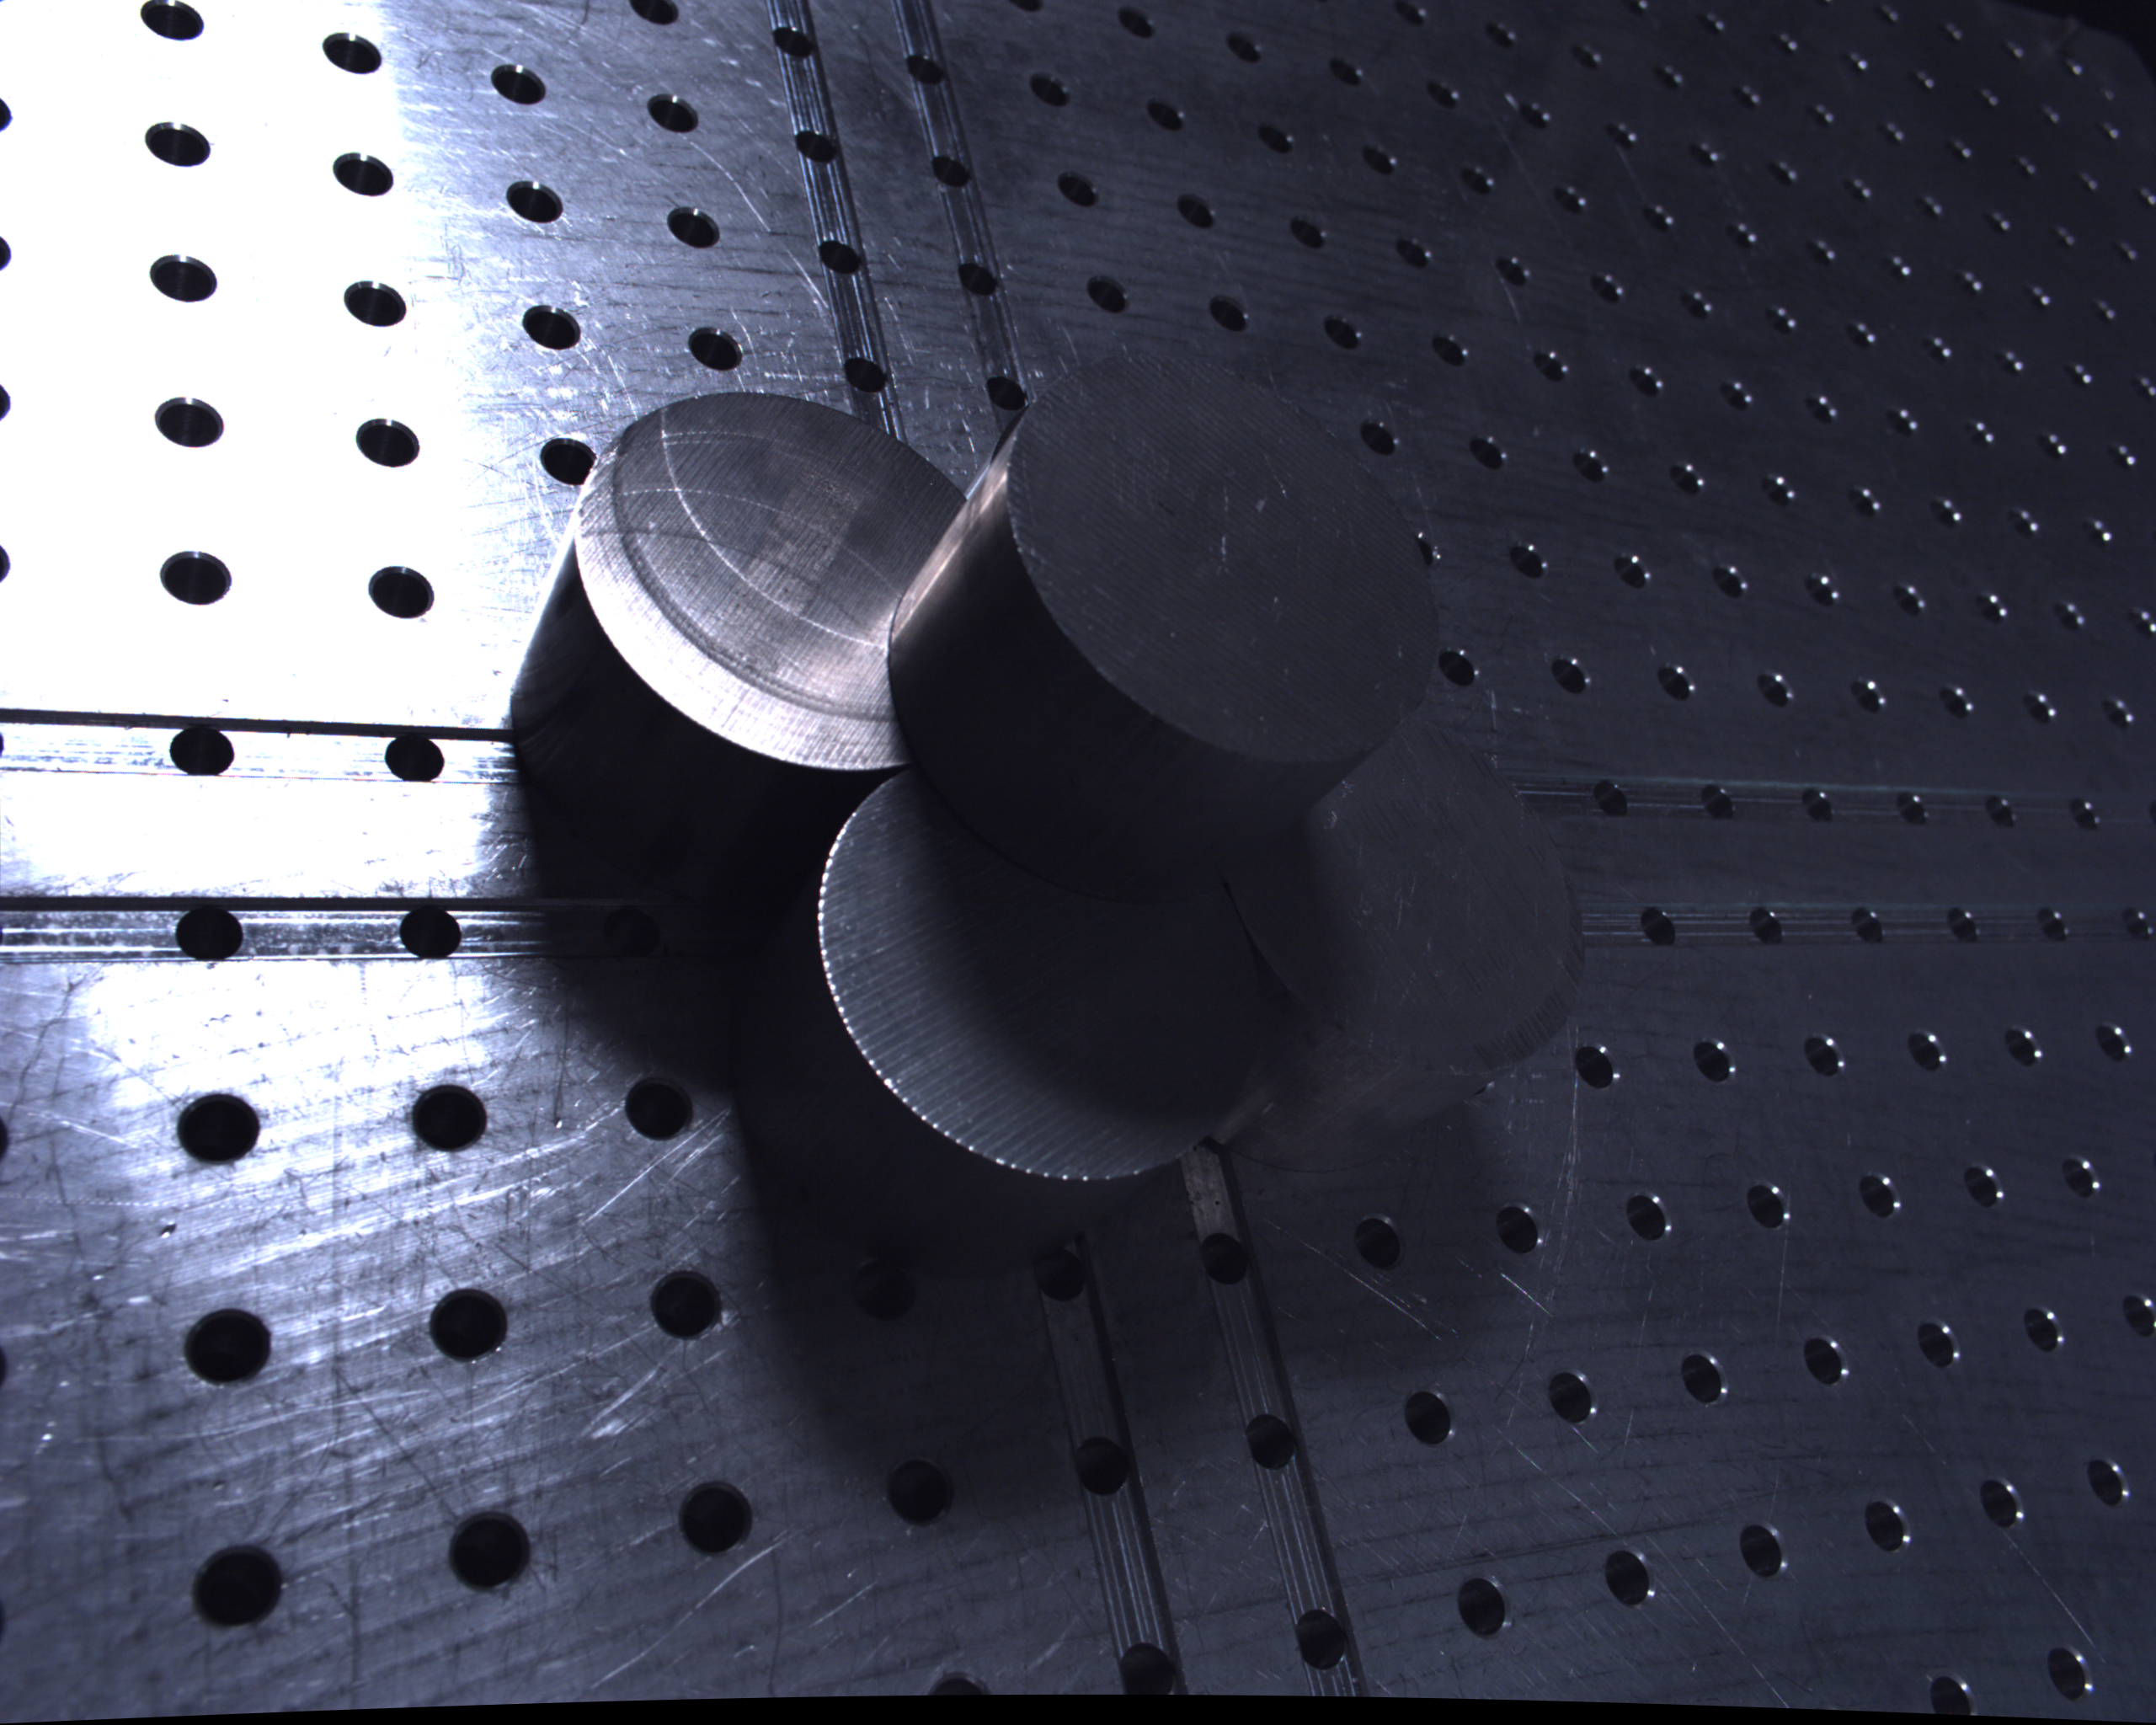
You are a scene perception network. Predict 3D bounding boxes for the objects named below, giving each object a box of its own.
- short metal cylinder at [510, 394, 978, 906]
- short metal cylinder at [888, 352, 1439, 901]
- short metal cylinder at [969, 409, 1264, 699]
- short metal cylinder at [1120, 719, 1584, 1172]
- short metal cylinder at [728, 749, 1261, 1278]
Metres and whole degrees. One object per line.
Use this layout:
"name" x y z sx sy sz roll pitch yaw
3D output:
"short metal cylinder" -0.059 -0.039 0.384 0.081 0.050 0.080 14 56 -21
"short metal cylinder" 0.014 -0.040 0.359 0.081 0.050 0.080 14 57 -22
"short metal cylinder" 0.009 -0.051 0.429 0.081 0.050 0.080 14 56 -21
"short metal cylinder" 0.051 0.015 0.412 0.081 0.050 0.080 14 56 -21
"short metal cylinder" -0.015 0.027 0.368 0.081 0.050 0.080 14 56 -21
